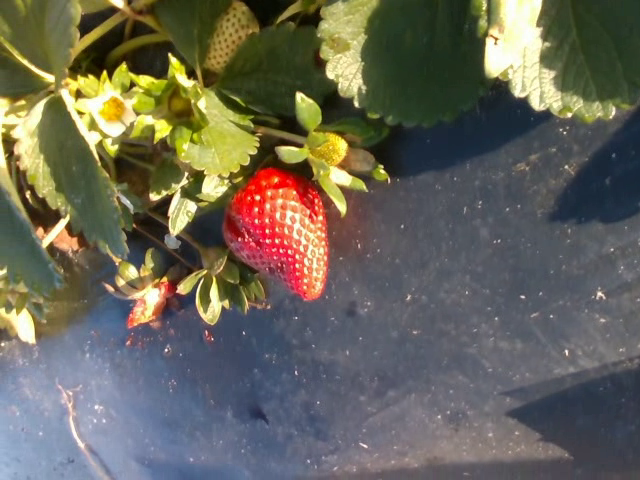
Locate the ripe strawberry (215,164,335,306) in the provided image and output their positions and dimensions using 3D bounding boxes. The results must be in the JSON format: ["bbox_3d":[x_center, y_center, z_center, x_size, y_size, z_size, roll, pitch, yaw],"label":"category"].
[{"bbox_3d":[-0.015,0.004,0.240,0.041,0.052,0.052,-10,-26,-34],"label":"ripe strawberry"}]
